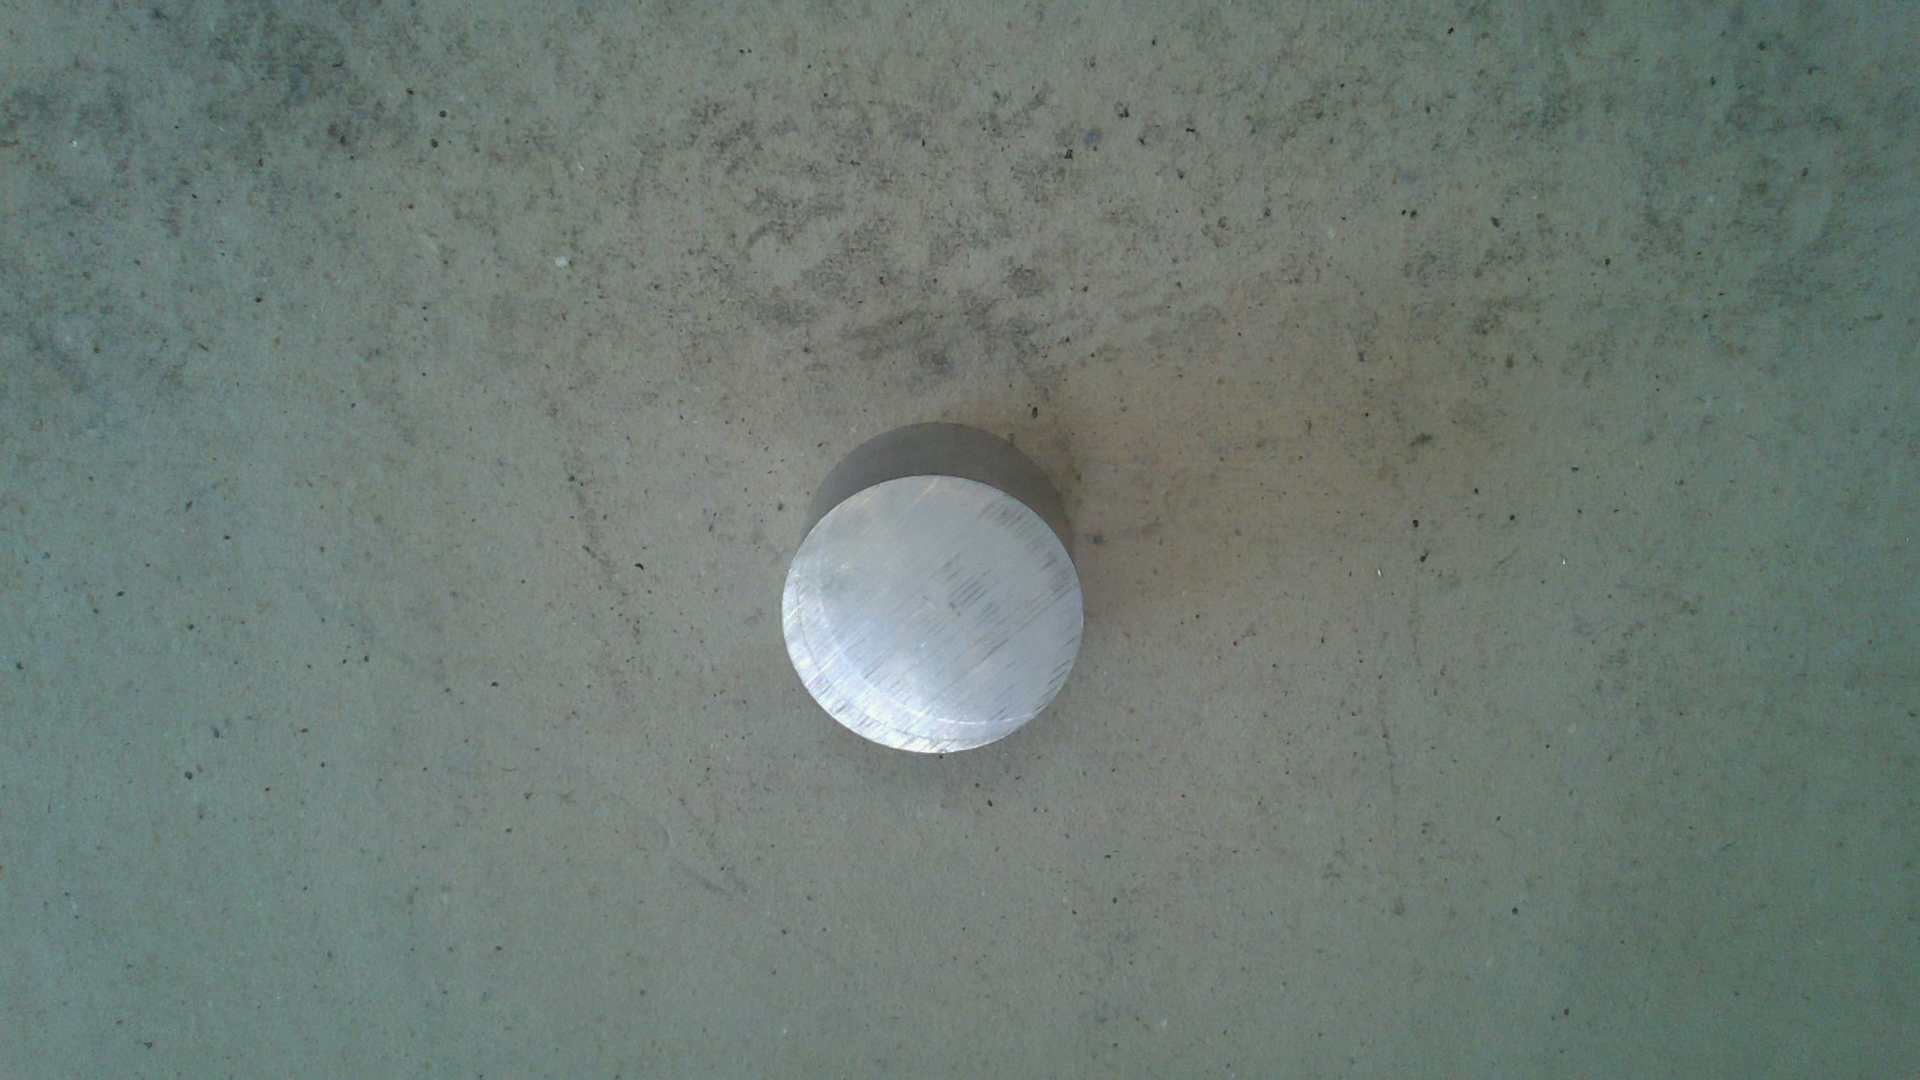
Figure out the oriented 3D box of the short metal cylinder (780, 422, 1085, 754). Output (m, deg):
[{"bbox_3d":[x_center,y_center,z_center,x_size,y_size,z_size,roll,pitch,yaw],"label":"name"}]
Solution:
[{"bbox_3d":[-0.008,0.012,0.385,0.080,0.050,0.080,0,110,-1],"label":"short metal cylinder"}]
